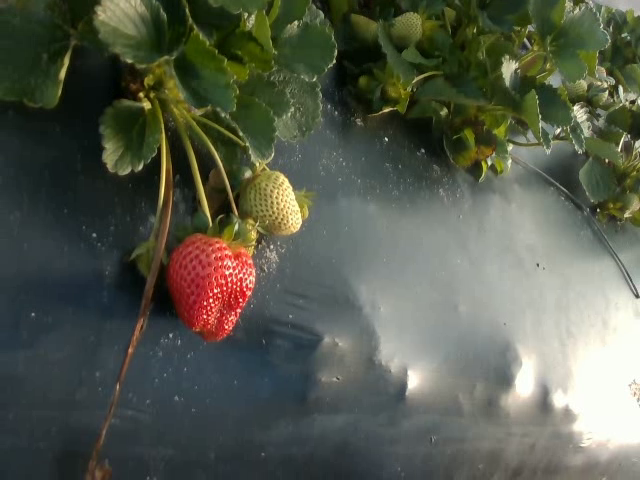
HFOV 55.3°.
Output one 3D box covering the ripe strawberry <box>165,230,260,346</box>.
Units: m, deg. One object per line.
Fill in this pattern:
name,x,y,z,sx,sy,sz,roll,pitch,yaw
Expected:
ripe strawberry,-0.046,0.023,0.279,0.047,0.050,0.034,17,-14,-35
